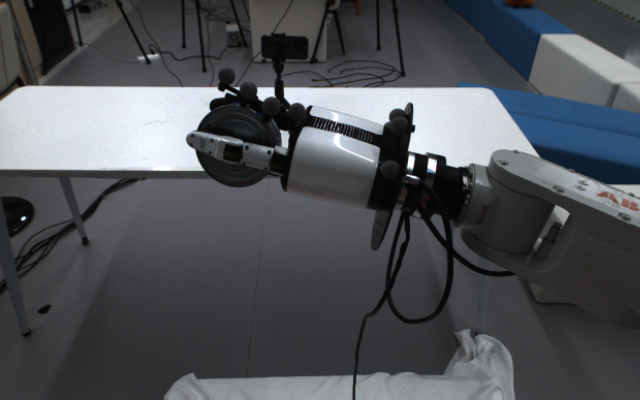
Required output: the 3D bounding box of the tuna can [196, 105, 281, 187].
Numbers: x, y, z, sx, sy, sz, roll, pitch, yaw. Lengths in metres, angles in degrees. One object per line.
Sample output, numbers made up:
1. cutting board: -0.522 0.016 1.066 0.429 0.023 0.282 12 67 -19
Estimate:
1. tuna can: -0.082 -0.060 0.509 0.085 0.085 0.034 7 17 6
